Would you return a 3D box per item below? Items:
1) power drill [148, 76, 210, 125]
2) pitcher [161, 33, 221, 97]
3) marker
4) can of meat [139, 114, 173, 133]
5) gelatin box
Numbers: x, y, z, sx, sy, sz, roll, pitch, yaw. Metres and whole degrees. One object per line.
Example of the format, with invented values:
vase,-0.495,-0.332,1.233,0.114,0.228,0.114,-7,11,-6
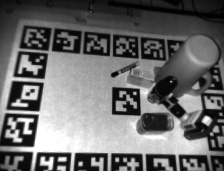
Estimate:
power drill,0.217,0.046,0.696,0.187,0.184,0.057,37,72,0
pitcher,0.268,-0.056,0.717,0.188,0.243,0.133,31,72,11
marker,0.059,-0.076,0.801,0.122,0.019,0.019,-24,75,-15
can of meat,0.144,0.120,0.707,0.102,0.084,0.057,1,67,-8
gelatin box,0.115,-0.031,0.768,0.089,0.073,0.030,13,72,-5
